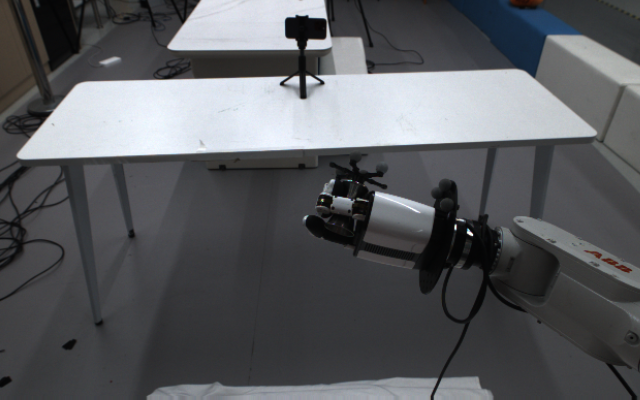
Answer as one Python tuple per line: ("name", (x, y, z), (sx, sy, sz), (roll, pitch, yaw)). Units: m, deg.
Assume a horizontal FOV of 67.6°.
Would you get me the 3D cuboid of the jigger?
("jigger", (0.039, 0.009, 0.667), (0.043, 0.043, 0.071), (15, 70, 18))
